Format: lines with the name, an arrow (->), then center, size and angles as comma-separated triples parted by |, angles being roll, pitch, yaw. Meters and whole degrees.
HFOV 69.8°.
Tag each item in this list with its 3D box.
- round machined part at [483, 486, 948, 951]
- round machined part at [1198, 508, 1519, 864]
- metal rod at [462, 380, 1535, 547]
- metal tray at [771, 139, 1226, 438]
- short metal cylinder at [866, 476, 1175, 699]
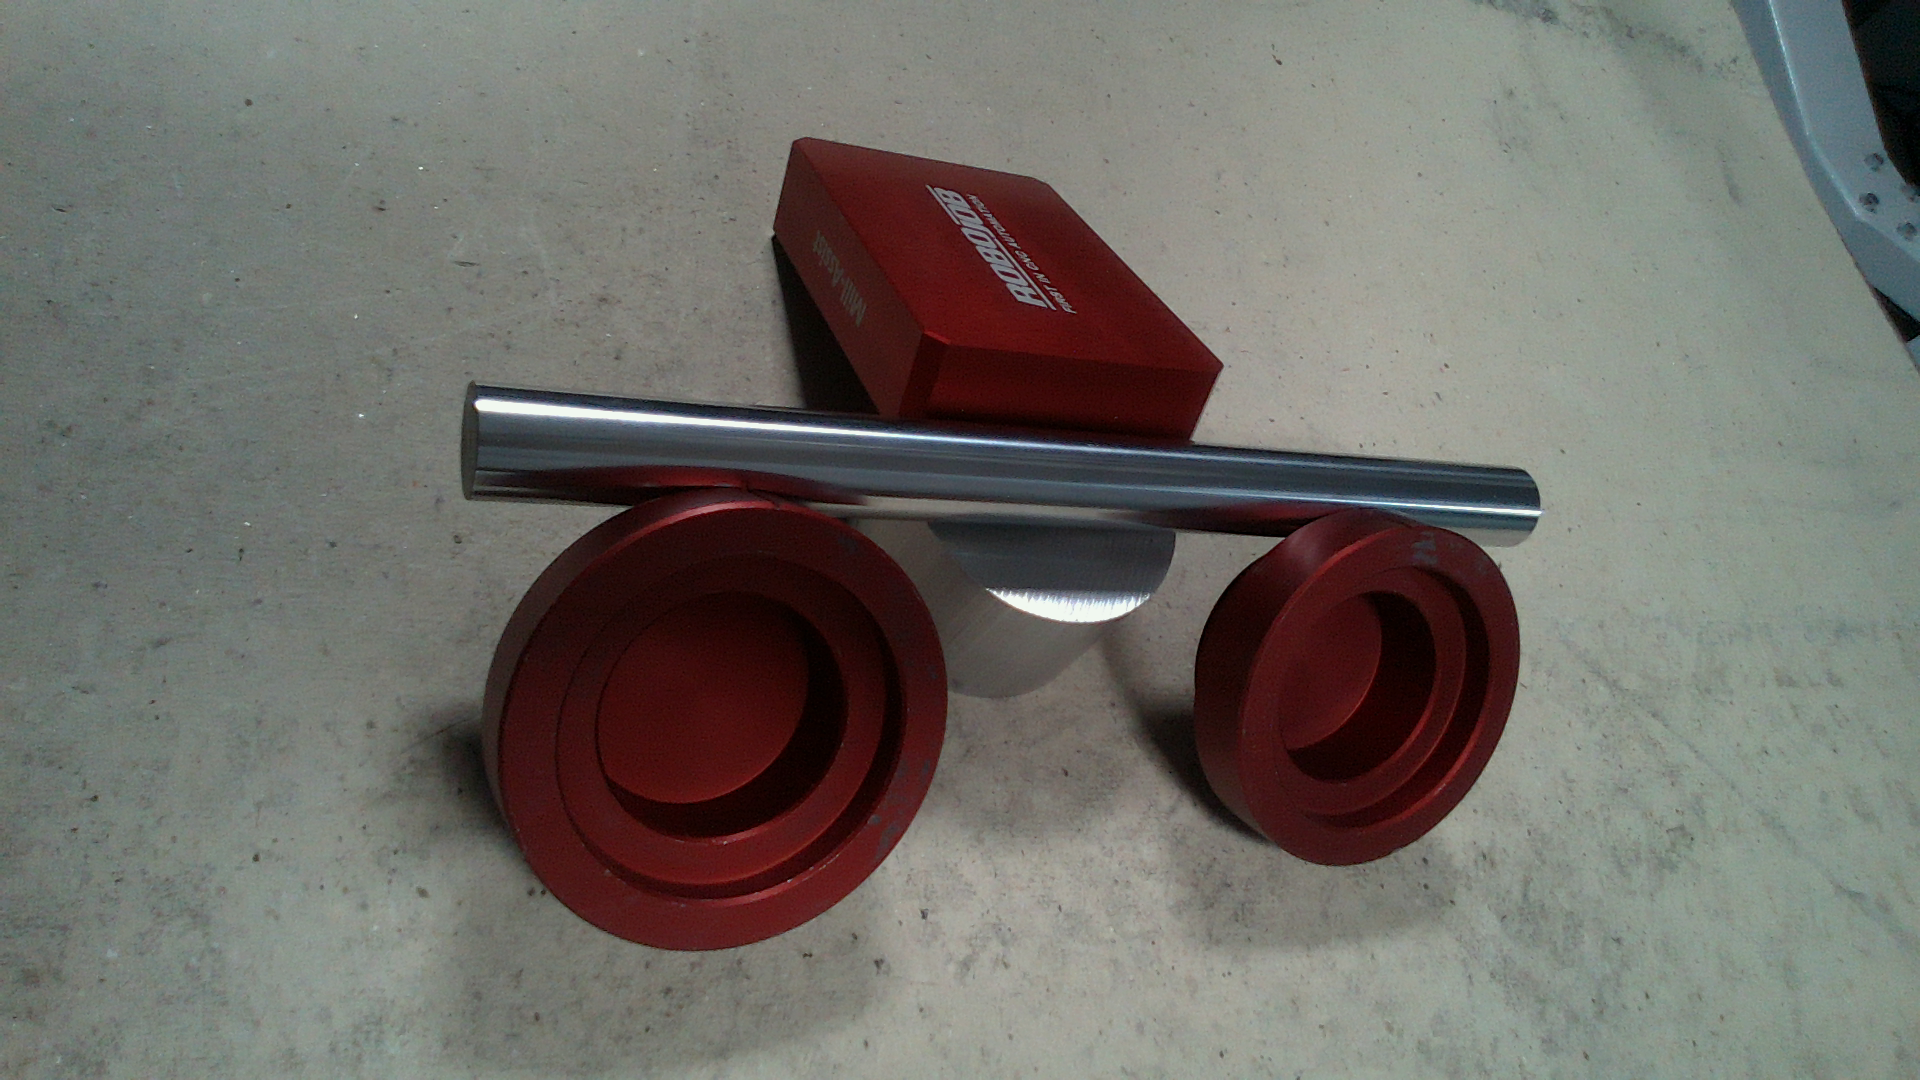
round machined part -> -0.055, 0.036, 0.306 | 0.098, 0.042, 0.098 | -6, 103, -28
round machined part -> 0.107, 0.038, 0.391 | 0.098, 0.042, 0.098 | -8, 108, -26
metal rod -> 0.032, -0.015, 0.353 | 0.301, 0.025, 0.025 | 2, 61, -27
metal tray -> 0.006, -0.073, 0.400 | 0.090, 0.030, 0.130 | 2, 35, -27
short metal cylinder -> 0.012, -0.003, 0.382 | 0.080, 0.050, 0.080 | 14, 56, -21
